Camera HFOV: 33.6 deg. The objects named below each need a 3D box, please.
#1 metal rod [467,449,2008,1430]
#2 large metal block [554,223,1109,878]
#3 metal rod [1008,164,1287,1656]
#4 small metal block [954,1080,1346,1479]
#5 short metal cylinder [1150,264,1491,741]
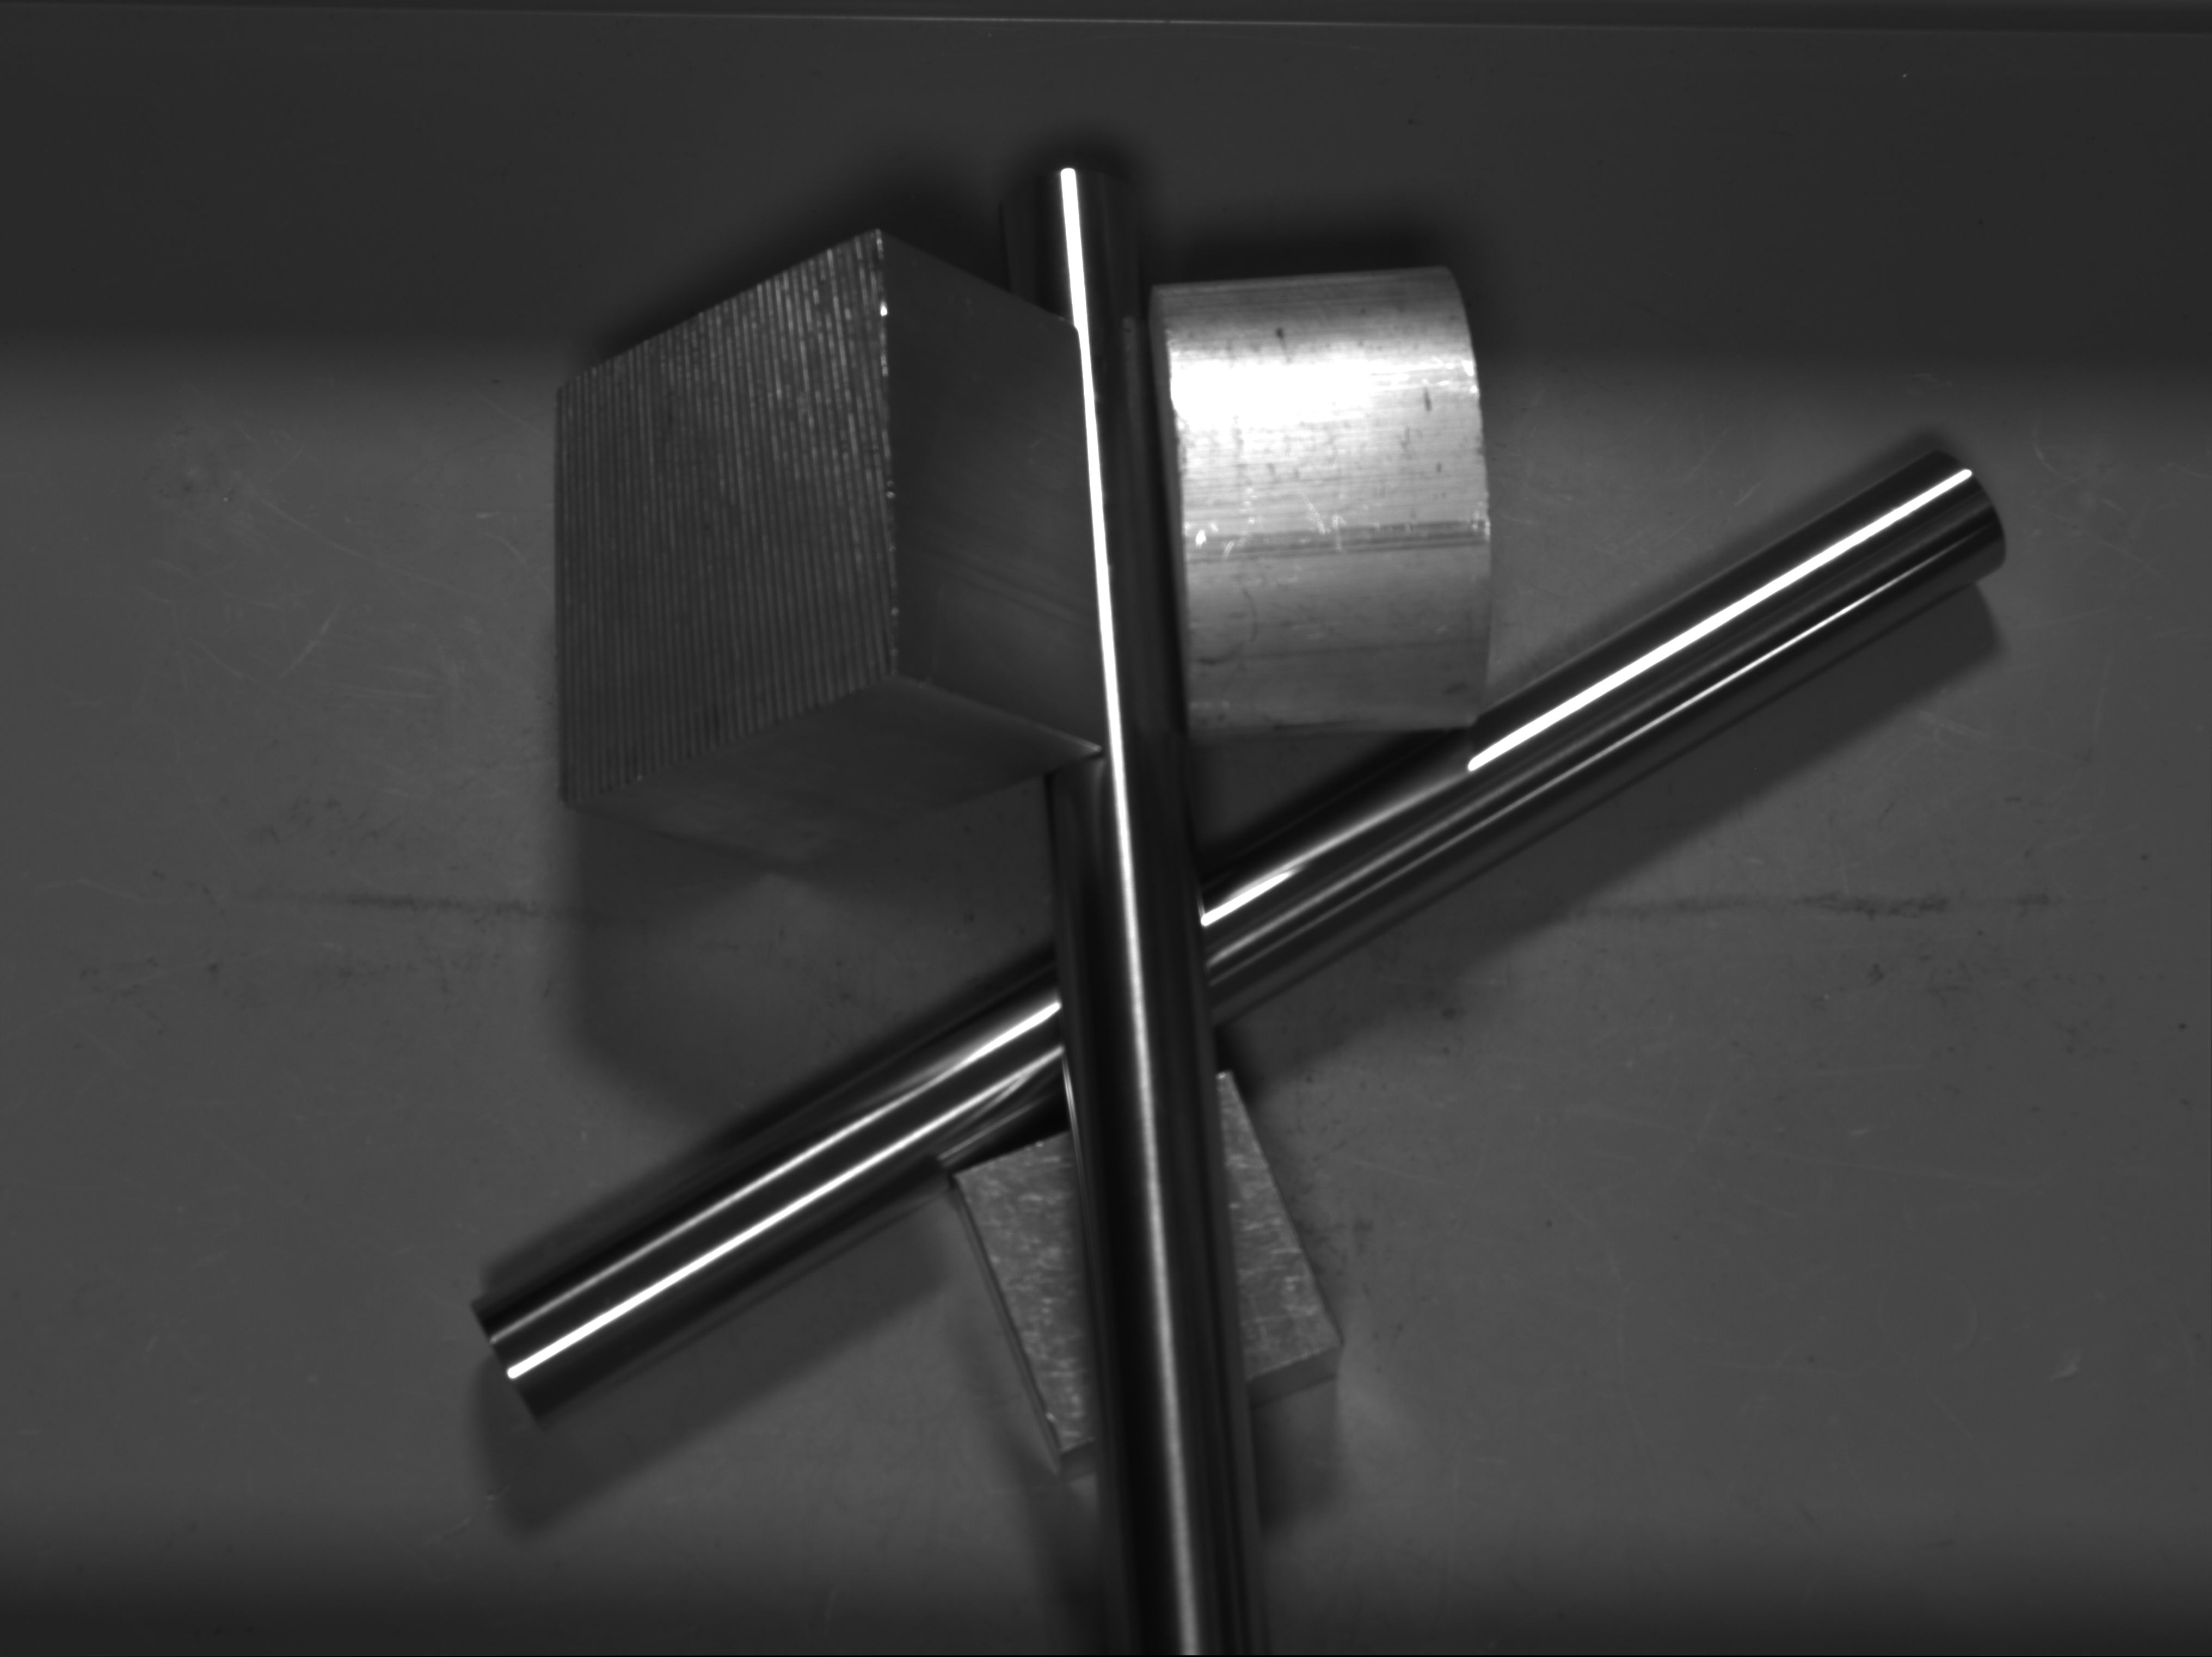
[{"bbox_3d":[0.028,0.016,0.637,0.300,0.025,0.025,-30,73,-10],"label":"metal rod"},{"bbox_3d":[-0.048,-0.045,0.626,0.080,0.050,0.080,-20,64,37],"label":"large metal block"},{"bbox_3d":[0.007,0.026,0.606,0.025,0.025,0.300,-4,69,-2],"label":"metal rod"},{"bbox_3d":[0.007,0.075,0.616,0.050,0.025,0.050,-20,71,-7],"label":"small metal block"},{"bbox_3d":[0.036,-0.056,0.634,0.050,0.080,0.080,-4,70,-3],"label":"short metal cylinder"}]
